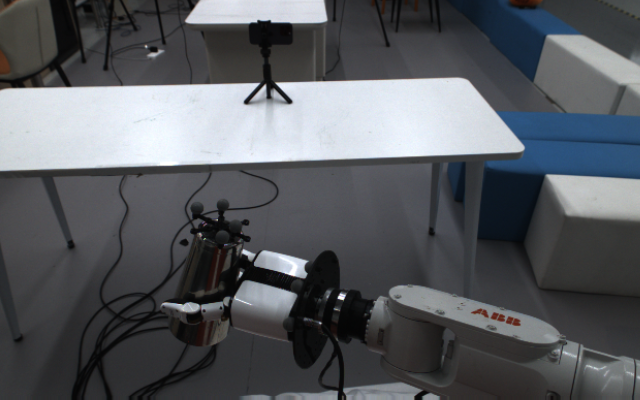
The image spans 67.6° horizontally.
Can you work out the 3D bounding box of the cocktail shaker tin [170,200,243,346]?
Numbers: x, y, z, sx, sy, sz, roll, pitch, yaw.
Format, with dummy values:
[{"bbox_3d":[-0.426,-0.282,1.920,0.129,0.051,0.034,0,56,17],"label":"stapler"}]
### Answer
[{"bbox_3d":[-0.157,0.112,0.690,0.093,0.170,0.093,15,27,-8],"label":"cocktail shaker tin"}]
